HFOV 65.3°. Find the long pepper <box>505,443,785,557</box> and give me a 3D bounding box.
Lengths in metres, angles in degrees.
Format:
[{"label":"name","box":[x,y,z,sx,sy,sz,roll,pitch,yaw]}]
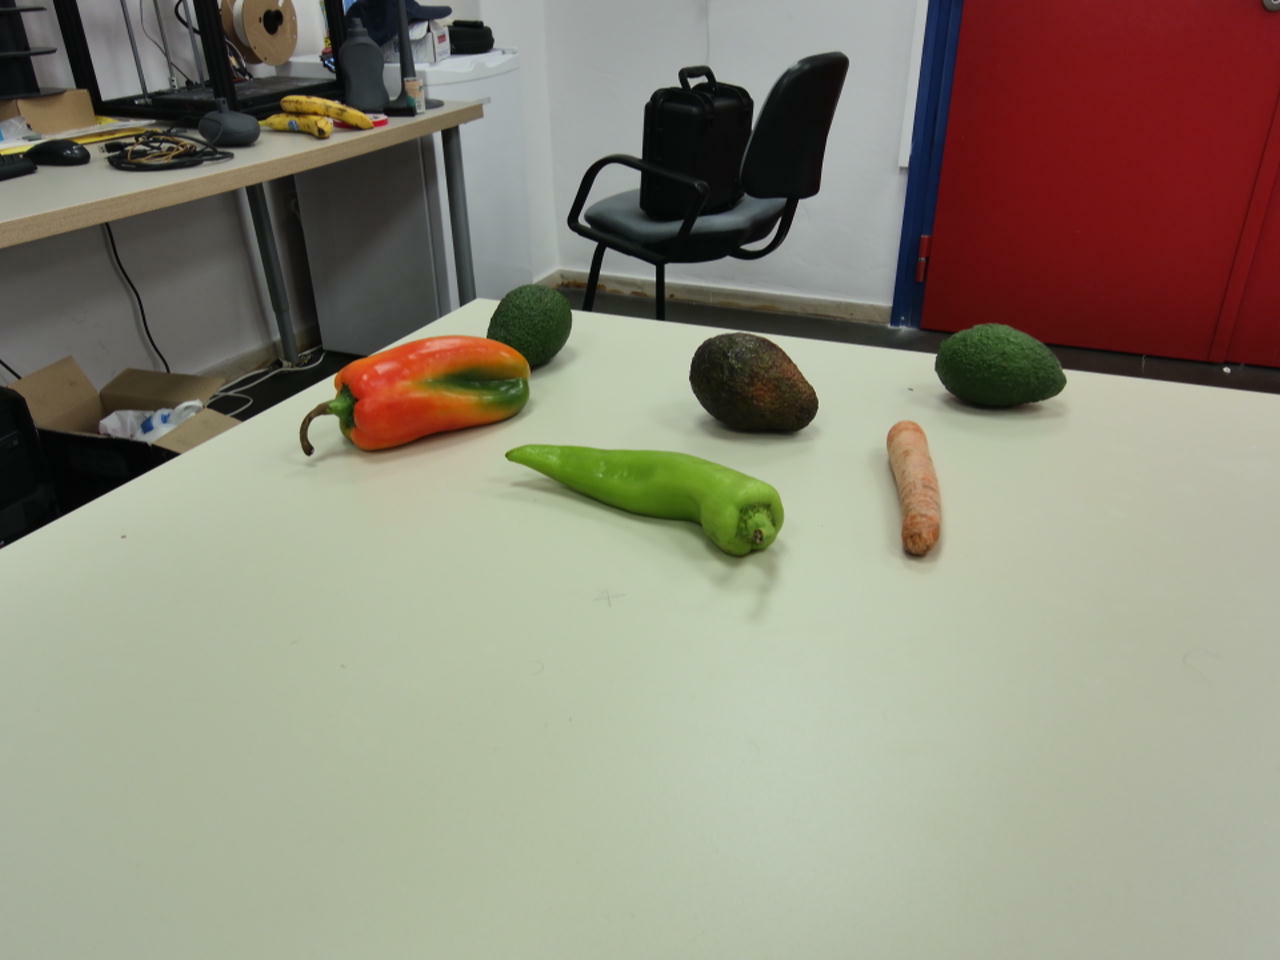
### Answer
[{"label":"long pepper","box":[0.010,0.003,0.617,0.205,0.045,0.065,20,32,36]}]
